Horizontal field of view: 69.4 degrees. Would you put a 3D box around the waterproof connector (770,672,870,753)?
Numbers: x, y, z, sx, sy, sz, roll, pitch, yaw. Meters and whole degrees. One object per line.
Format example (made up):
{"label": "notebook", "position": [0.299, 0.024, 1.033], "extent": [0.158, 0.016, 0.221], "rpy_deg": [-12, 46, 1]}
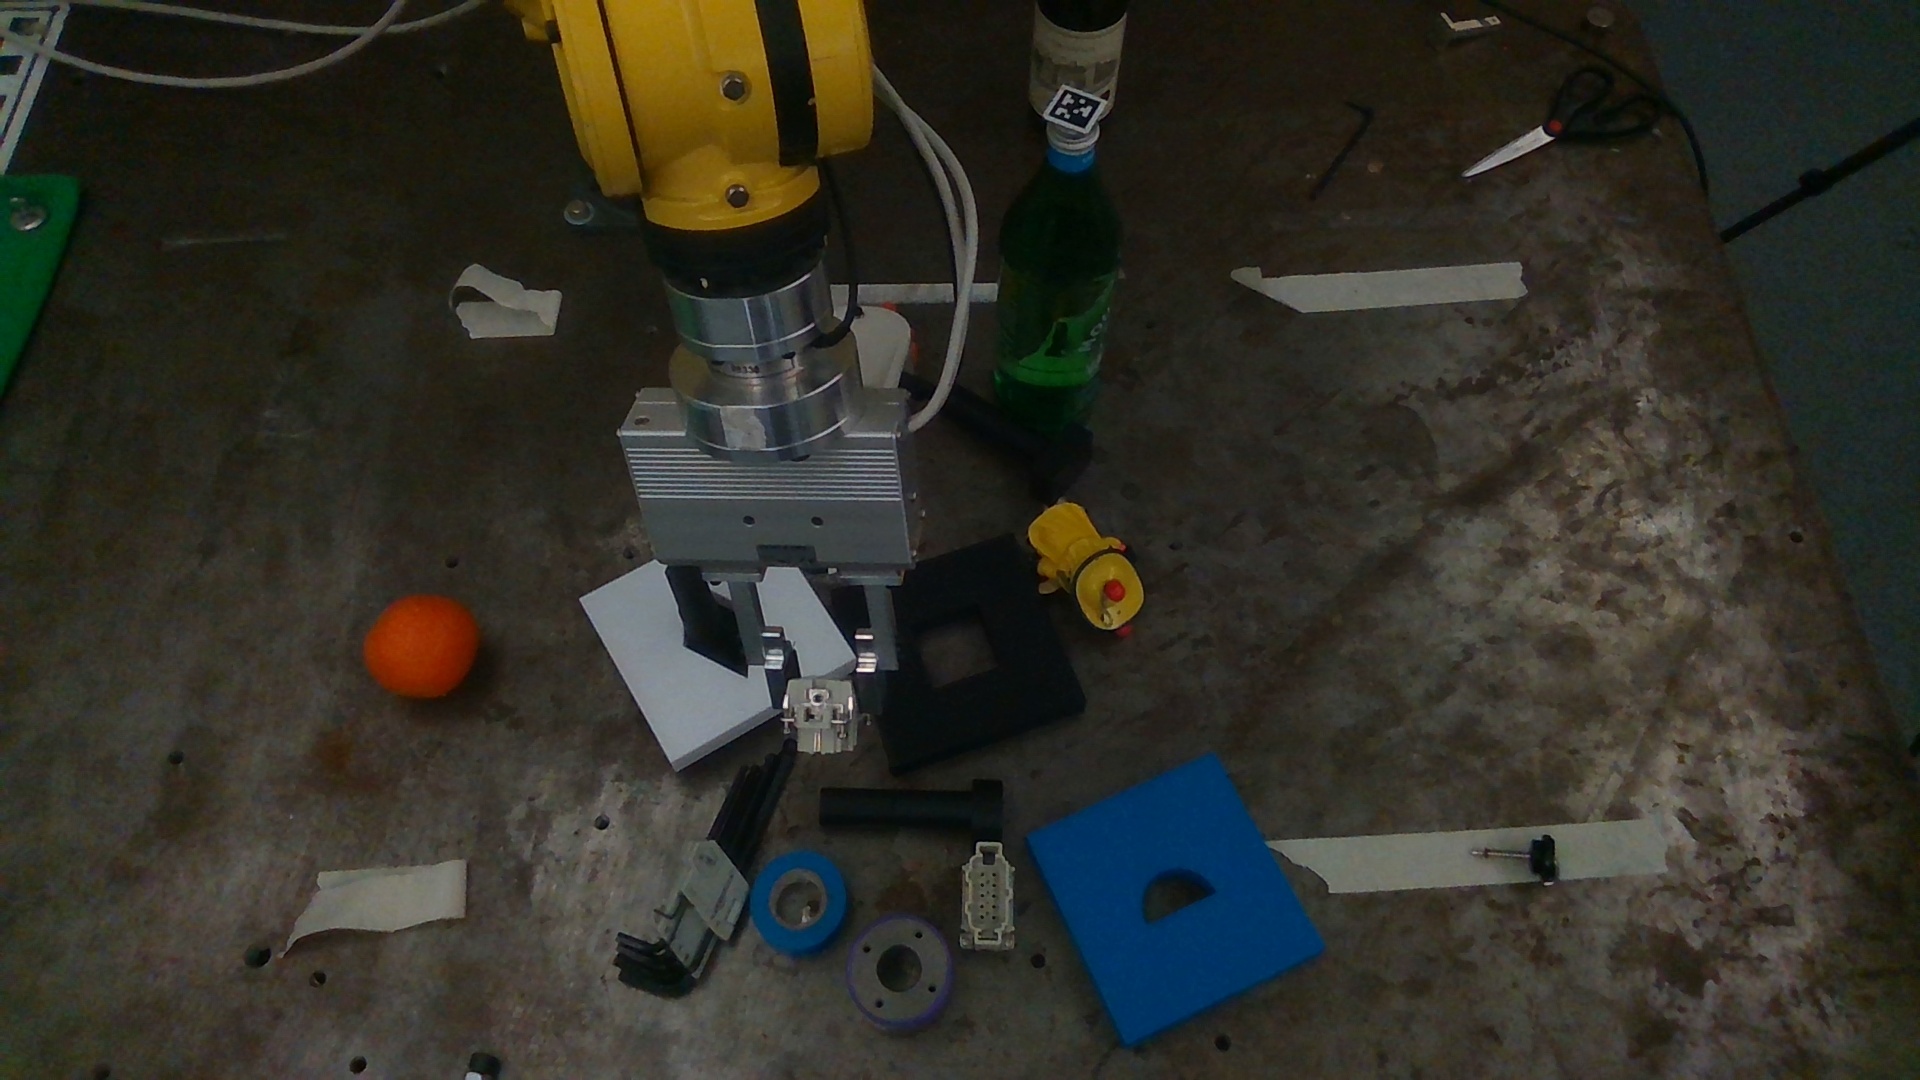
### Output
{"label": "waterproof connector", "position": [-0.072, 0.089, 0.720], "extent": [0.037, 0.069, 0.038], "rpy_deg": [-2, 86, 10]}
